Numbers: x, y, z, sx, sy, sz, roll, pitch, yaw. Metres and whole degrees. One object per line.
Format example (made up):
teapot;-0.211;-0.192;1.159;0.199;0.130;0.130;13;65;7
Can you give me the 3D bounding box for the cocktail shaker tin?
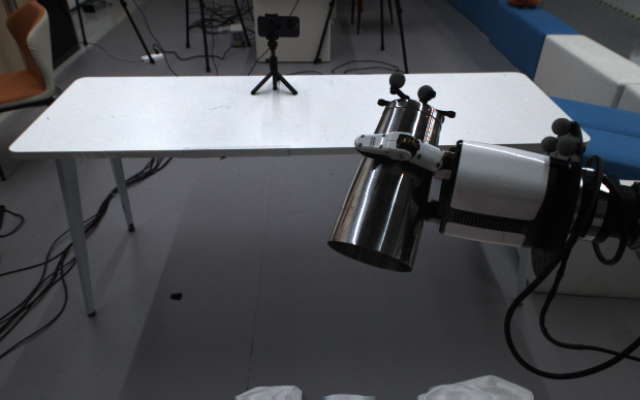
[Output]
cocktail shaker tin;0.080;-0.018;0.520;0.093;0.093;0.170;15;75;18
